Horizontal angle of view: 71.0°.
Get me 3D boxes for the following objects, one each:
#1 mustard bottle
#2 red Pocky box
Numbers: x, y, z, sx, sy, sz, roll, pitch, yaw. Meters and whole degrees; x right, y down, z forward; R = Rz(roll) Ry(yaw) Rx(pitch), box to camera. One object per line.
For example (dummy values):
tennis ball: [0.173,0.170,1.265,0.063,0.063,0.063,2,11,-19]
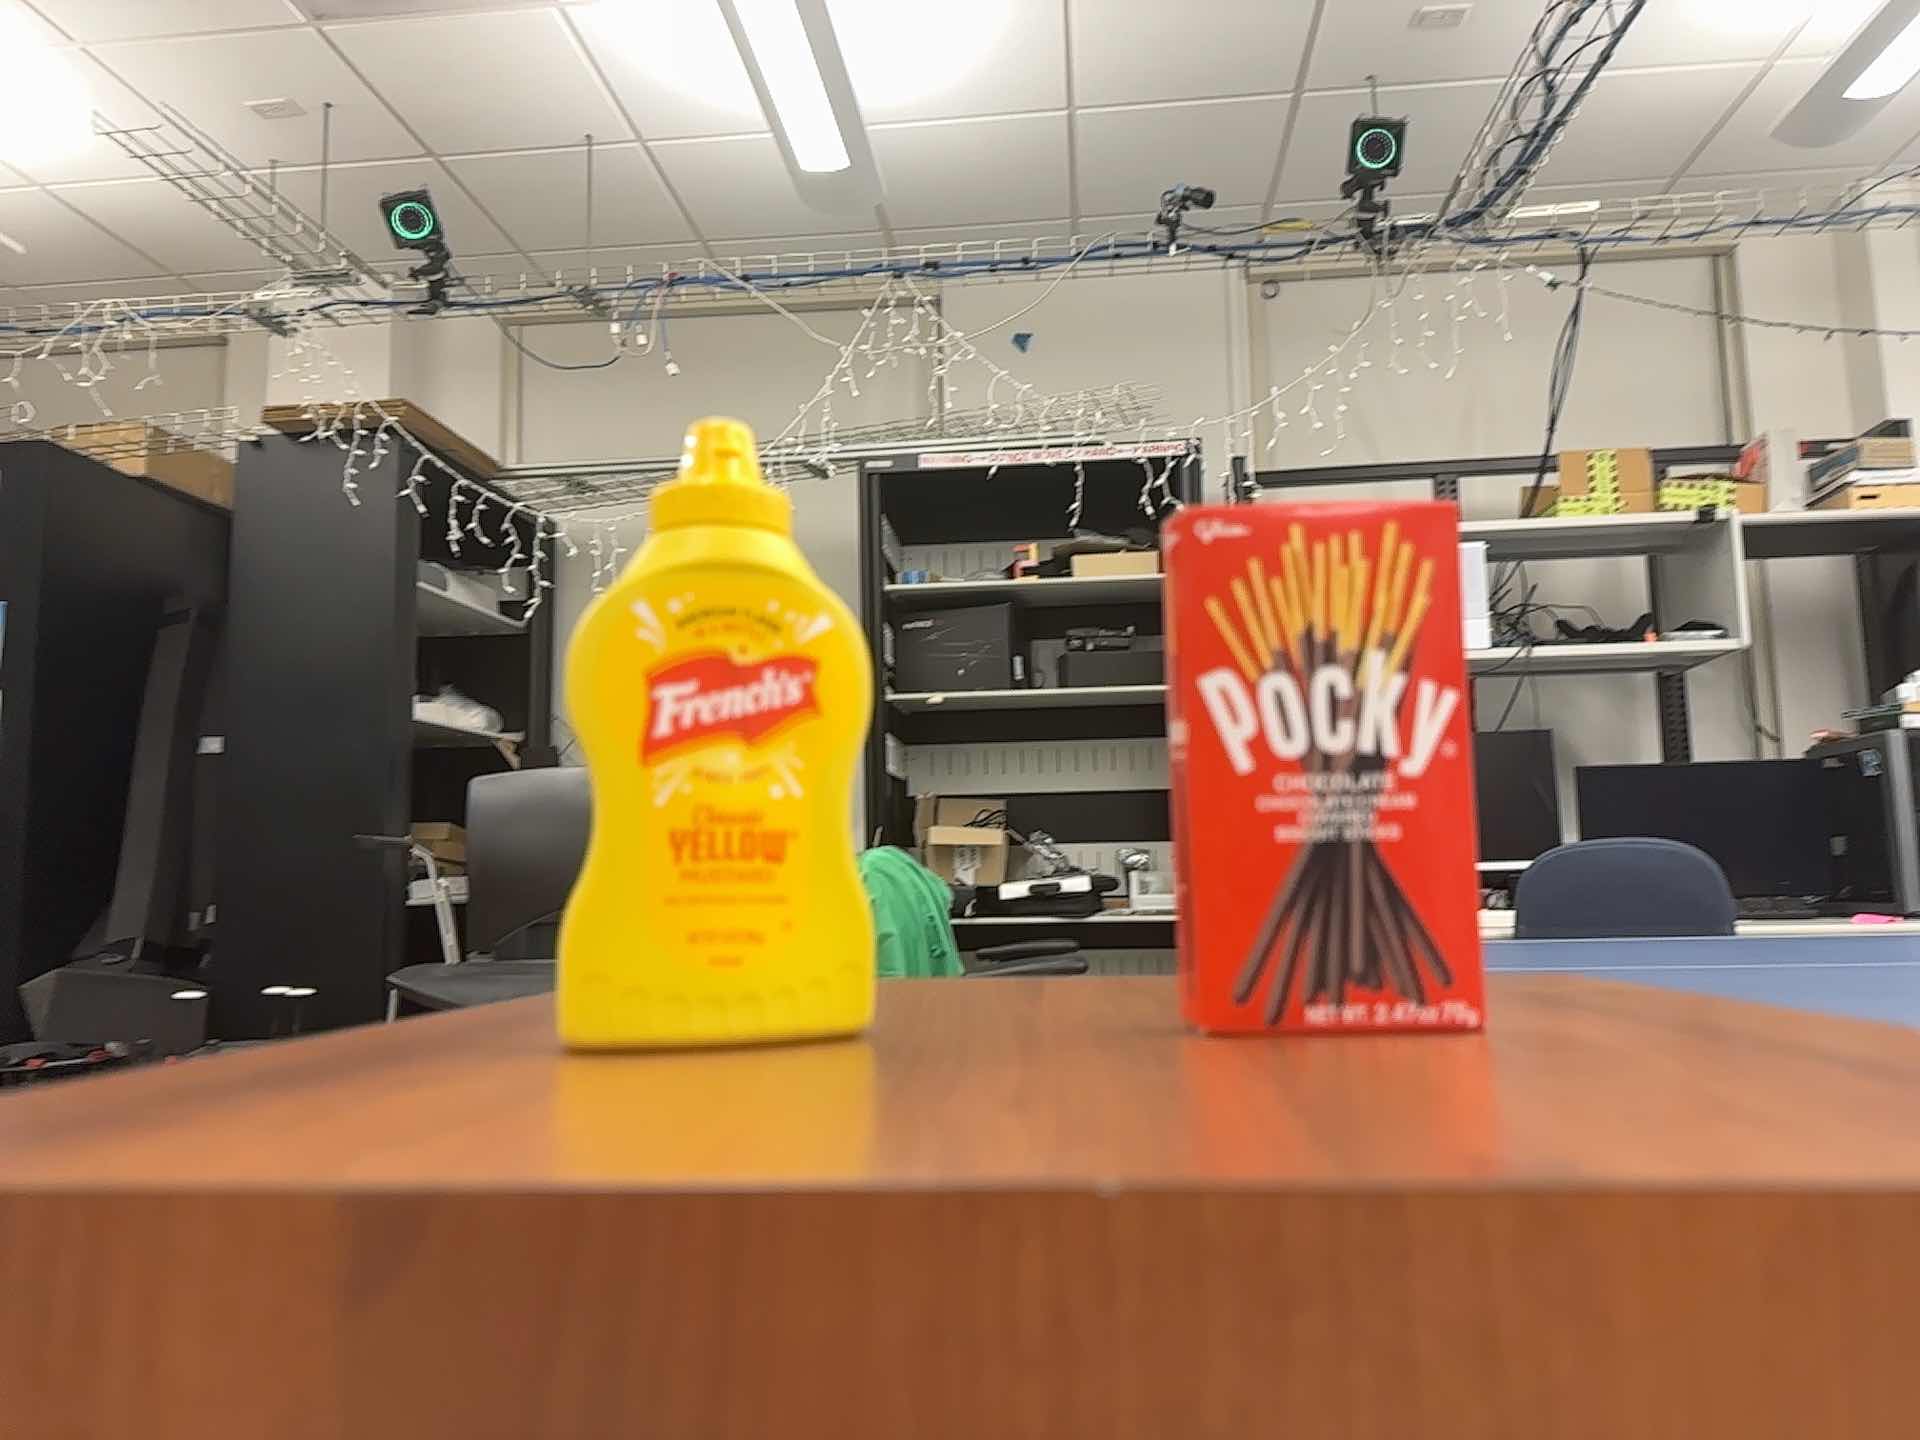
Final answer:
mustard bottle: [-0.070,0.000,0.389,0.092,0.184,0.054,1,-10,-12]
red Pocky box: [0.102,0.012,0.385,0.083,0.155,0.028,-1,-9,0]
